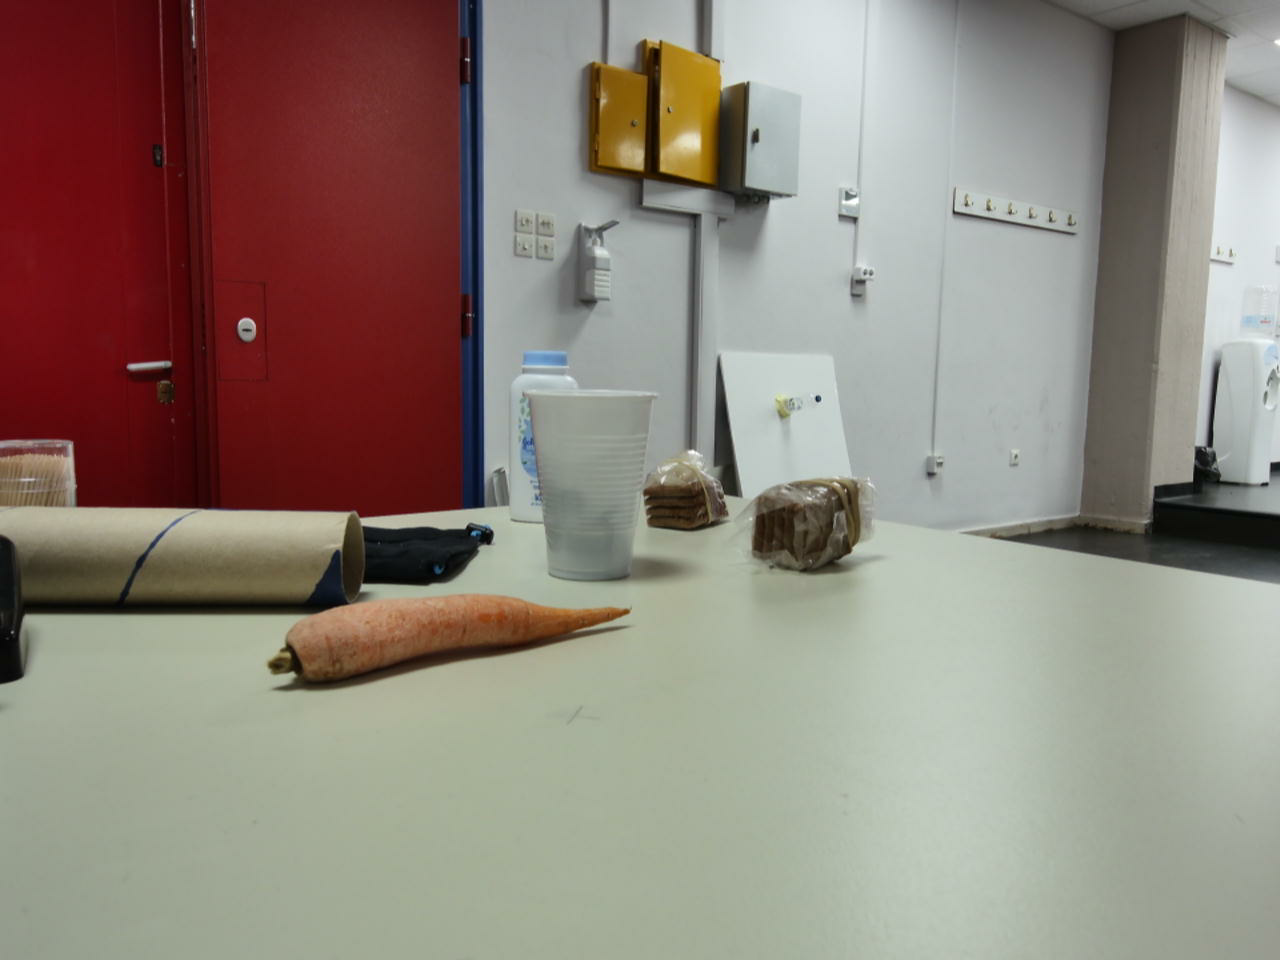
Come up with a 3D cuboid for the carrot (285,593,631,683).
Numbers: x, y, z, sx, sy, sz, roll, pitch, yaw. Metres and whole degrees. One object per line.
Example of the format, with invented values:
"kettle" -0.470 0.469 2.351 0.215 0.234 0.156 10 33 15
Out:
"carrot" -0.073 0.061 0.429 0.163 0.029 0.031 -4 5 -37
